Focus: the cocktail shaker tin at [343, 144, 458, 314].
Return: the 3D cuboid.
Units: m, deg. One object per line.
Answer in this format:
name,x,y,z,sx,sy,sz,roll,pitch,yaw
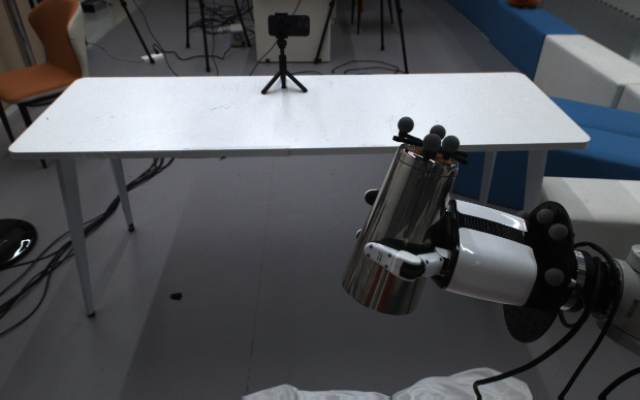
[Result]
cocktail shaker tin,0.094,0.029,0.536,0.093,0.170,0.093,14,19,-5
